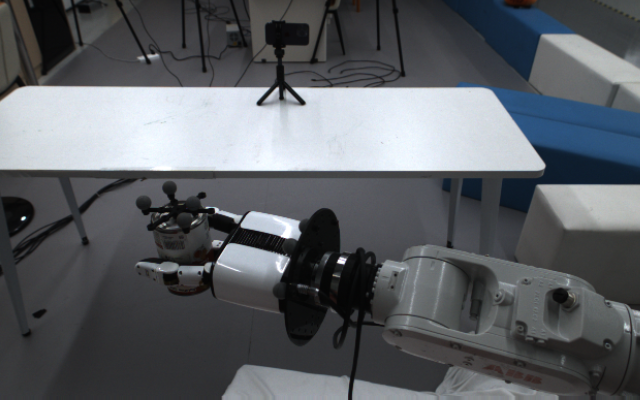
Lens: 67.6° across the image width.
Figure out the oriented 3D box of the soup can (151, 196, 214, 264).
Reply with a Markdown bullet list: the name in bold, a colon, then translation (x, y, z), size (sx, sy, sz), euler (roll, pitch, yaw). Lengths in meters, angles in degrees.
- **soup can**: translation (-0.167, 0.062, 0.606), size (0.067, 0.101, 0.067), euler (-1, 32, 1)
